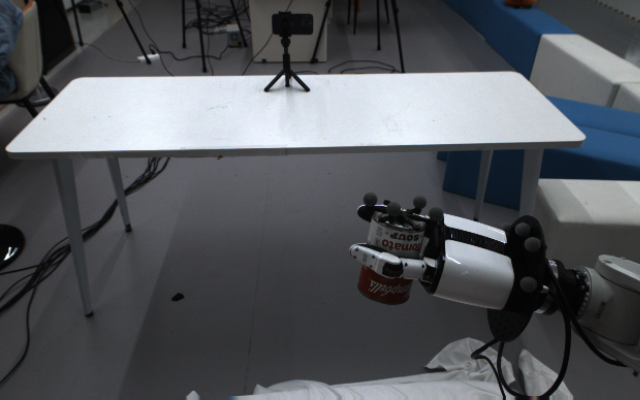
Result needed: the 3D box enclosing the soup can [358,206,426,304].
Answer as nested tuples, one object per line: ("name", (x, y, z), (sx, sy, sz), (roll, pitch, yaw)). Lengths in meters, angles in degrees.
("soup can", (0.091, 0.069, 0.604), (0.067, 0.101, 0.067), (9, 19, -3))
